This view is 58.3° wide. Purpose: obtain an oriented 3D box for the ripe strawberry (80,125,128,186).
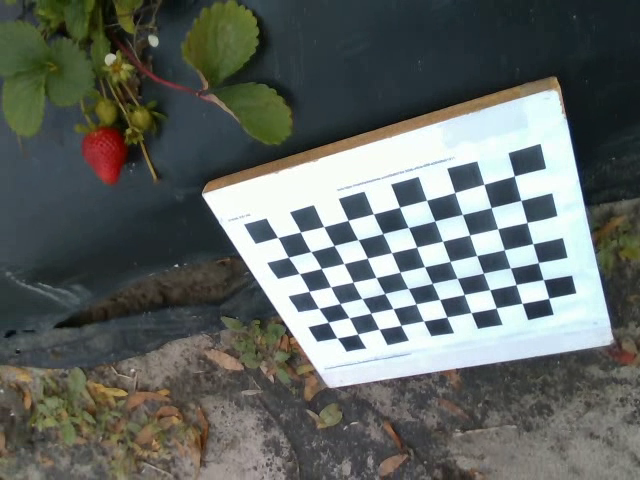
[{"bbox_3d":[-0.055,-0.020,0.138,0.018,0.017,0.014,-16,-7,10],"label":"ripe strawberry"}]
